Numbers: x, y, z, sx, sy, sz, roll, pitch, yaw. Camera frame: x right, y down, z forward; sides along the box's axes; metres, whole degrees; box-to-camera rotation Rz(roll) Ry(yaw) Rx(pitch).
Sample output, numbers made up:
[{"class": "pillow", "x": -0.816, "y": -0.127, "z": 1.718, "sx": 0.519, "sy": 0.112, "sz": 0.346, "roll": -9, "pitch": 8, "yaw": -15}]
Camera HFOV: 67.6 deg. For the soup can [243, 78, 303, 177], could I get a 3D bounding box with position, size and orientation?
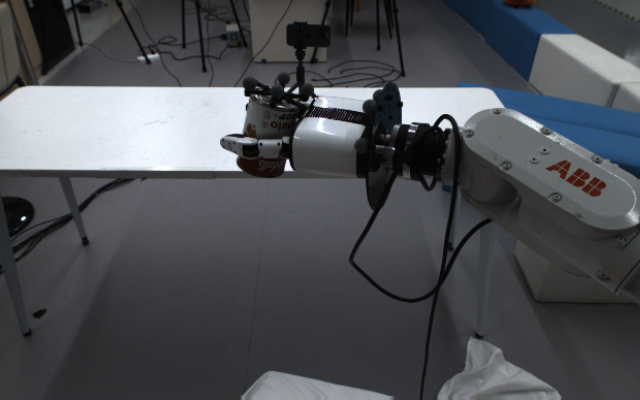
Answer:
[{"class": "soup can", "x": -0.069, "y": -0.088, "z": 0.643, "sx": 0.067, "sy": 0.101, "sz": 0.067, "roll": 13, "pitch": 30, "yaw": -8}]
